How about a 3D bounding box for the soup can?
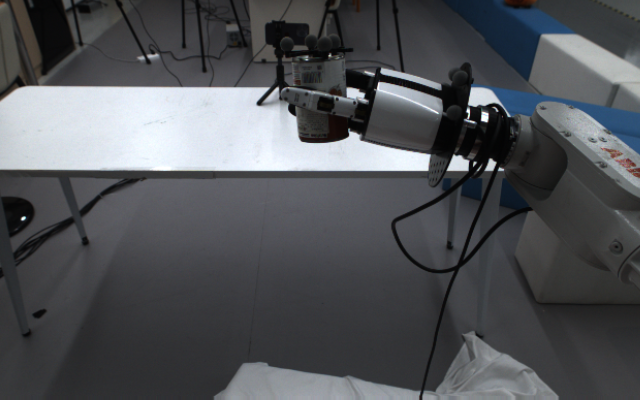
[{"bbox_3d":[0.003,-0.129,0.613,0.067,0.101,0.067,-4,21,1],"label":"soup can"}]
